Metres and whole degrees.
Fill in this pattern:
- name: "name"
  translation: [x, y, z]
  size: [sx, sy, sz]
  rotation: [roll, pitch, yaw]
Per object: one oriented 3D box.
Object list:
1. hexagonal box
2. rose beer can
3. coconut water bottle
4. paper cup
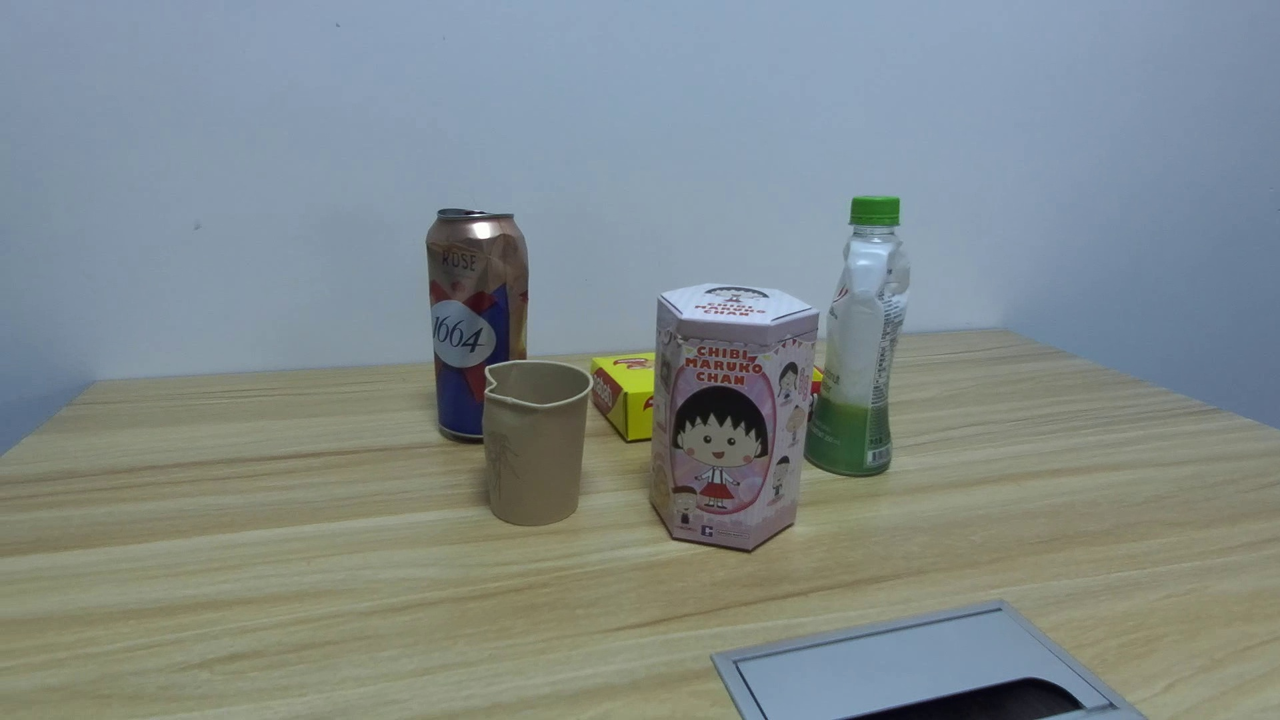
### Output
- name: "hexagonal box"
  translation: [0.052, 0.032, 0.412]
  size: [0.091, 0.136, 0.084]
  rotation: [6, 18, 13]
- name: "rose beer can"
  translation: [-0.118, -0.026, 0.527]
  size: [0.065, 0.167, 0.075]
  rotation: [-12, 22, -39]
- name: "coconut water bottle"
  translation: [0.152, -0.016, 0.486]
  size: [0.067, 0.187, 0.067]
  rotation: [1, 16, 0]
- name: "paper cup"
  translation: [-0.064, 0.050, 0.430]
  size: [0.073, 0.081, 0.069]
  rotation: [9, 18, 19]
